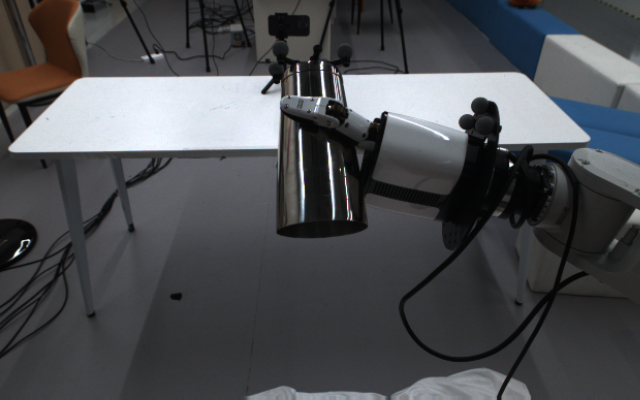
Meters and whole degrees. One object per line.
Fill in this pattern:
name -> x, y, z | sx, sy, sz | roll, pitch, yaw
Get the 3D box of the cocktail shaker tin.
cocktail shaker tin -> -0.002, -0.051, 0.503 | 0.093, 0.093, 0.170 | -3, 76, -7
